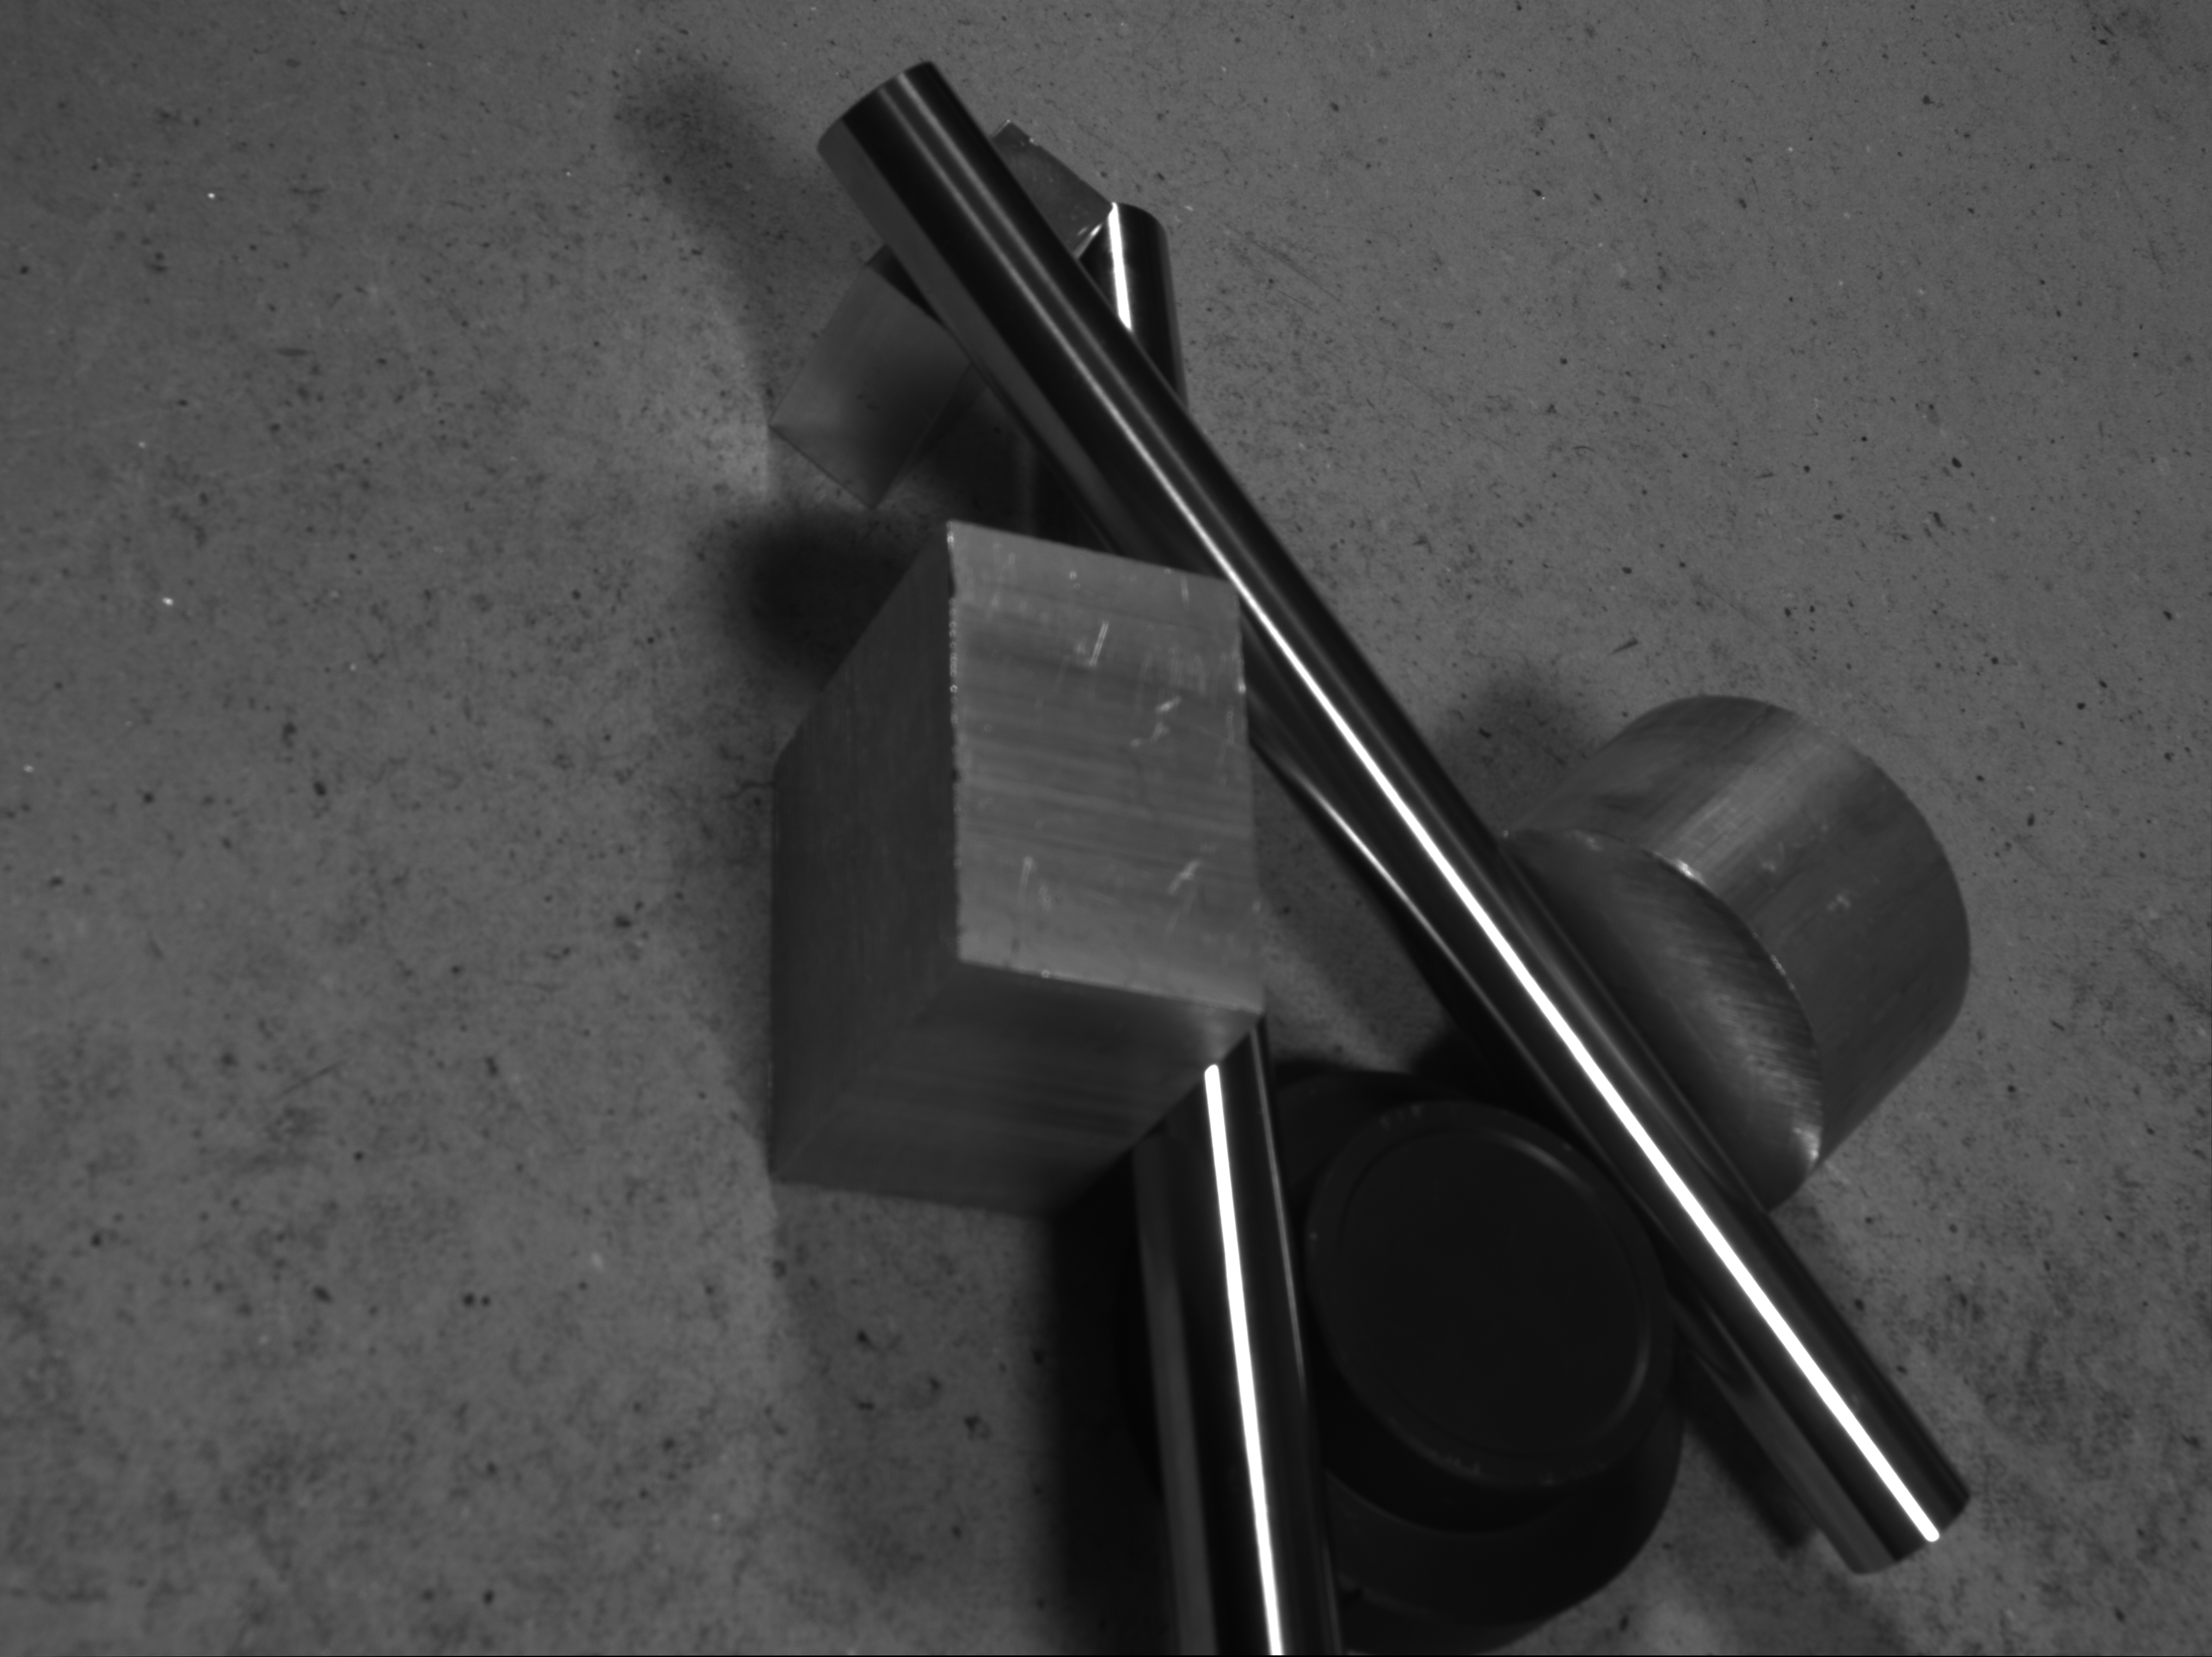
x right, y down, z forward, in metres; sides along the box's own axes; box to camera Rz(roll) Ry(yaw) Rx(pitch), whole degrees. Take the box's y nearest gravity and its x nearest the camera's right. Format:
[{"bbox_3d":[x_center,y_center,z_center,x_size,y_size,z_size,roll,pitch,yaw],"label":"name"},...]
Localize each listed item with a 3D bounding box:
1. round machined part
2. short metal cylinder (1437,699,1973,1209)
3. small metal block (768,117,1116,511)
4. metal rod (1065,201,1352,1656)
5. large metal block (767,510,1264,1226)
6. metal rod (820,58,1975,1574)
[{"bbox_3d":[0.055,0.085,0.607,0.098,0.042,0.098,14,56,-21],"label":"round machined part"},{"bbox_3d":[0.105,0.024,0.647,0.080,0.080,0.050,49,51,6],"label":"short metal cylinder"},{"bbox_3d":[-0.030,-0.093,0.665,0.025,0.050,0.050,39,51,-2],"label":"small metal block"},{"bbox_3d":[0.012,0.008,0.622,0.025,0.025,0.300,11,51,-22],"label":"metal rod"},{"bbox_3d":[-0.017,0.008,0.591,0.050,0.080,0.080,11,57,-22],"label":"large metal block"},{"bbox_3d":[0.050,-0.002,0.624,0.025,0.025,0.300,-37,91,-38],"label":"metal rod"}]
